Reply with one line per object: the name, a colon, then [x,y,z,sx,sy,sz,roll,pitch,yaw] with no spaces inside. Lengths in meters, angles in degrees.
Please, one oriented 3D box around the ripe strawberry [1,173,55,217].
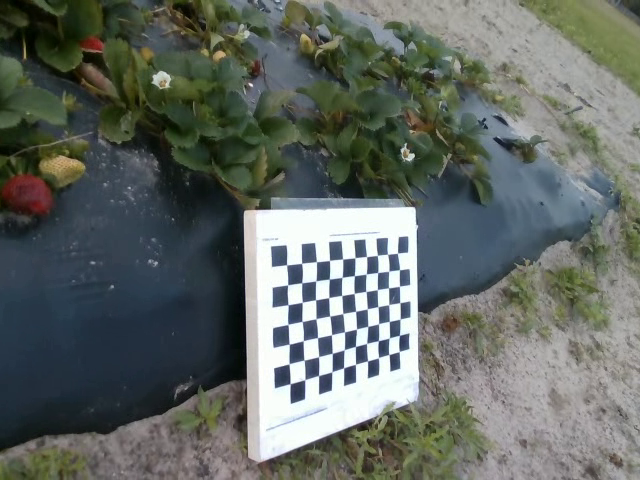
ripe strawberry: [-0.259,-0.035,0.525,0.046,0.046,0.059,-12,30,-43]
